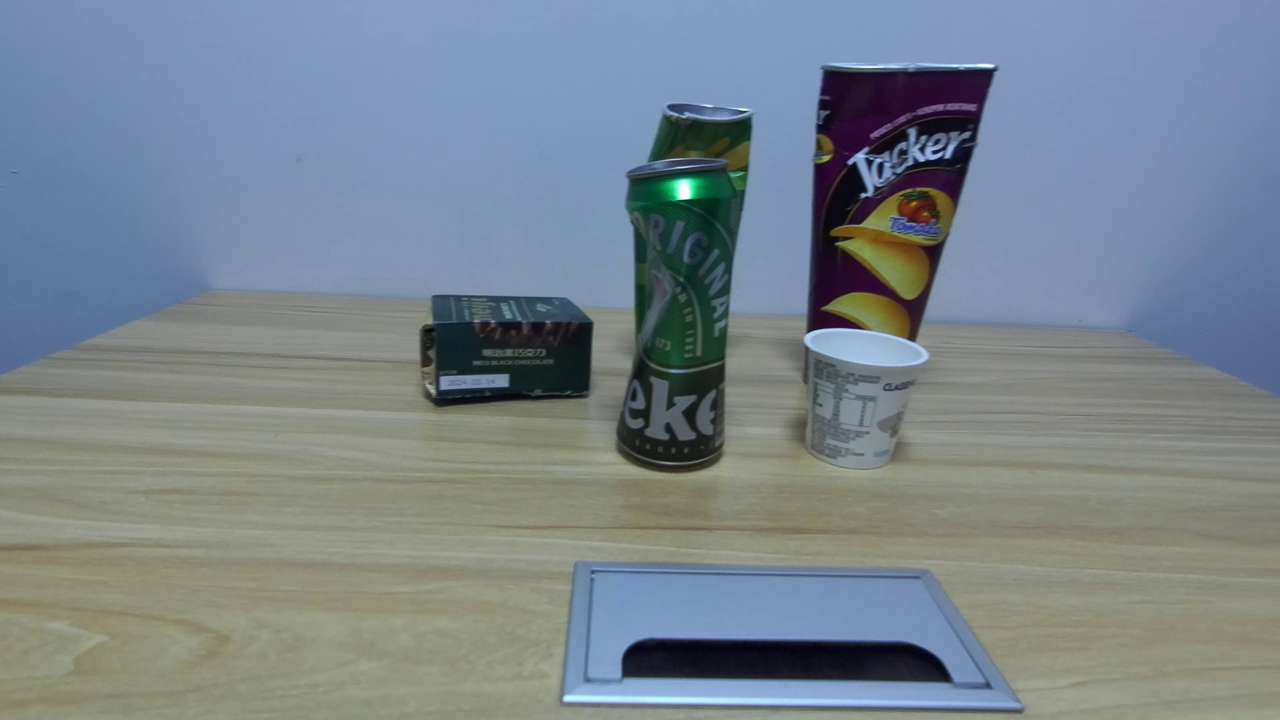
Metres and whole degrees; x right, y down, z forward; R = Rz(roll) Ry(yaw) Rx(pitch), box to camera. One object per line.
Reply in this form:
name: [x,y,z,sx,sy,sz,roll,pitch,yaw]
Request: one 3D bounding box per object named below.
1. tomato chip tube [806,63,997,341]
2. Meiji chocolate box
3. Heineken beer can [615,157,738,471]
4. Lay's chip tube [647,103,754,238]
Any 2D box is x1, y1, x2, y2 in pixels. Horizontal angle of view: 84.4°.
tomato chip tube: [0.172,-0.091,0.517,0.078,0.236,0.090,-4,22,-21]
Meiji chocolate box: [-0.099,-0.012,0.526,0.123,0.058,0.115,-2,17,-16]
Heineken beer can: [0.019,-0.024,0.400,0.069,0.168,0.069,12,20,36]
Lay's chip tube: [0.036,-0.095,0.551,0.069,0.201,0.077,15,27,23]
